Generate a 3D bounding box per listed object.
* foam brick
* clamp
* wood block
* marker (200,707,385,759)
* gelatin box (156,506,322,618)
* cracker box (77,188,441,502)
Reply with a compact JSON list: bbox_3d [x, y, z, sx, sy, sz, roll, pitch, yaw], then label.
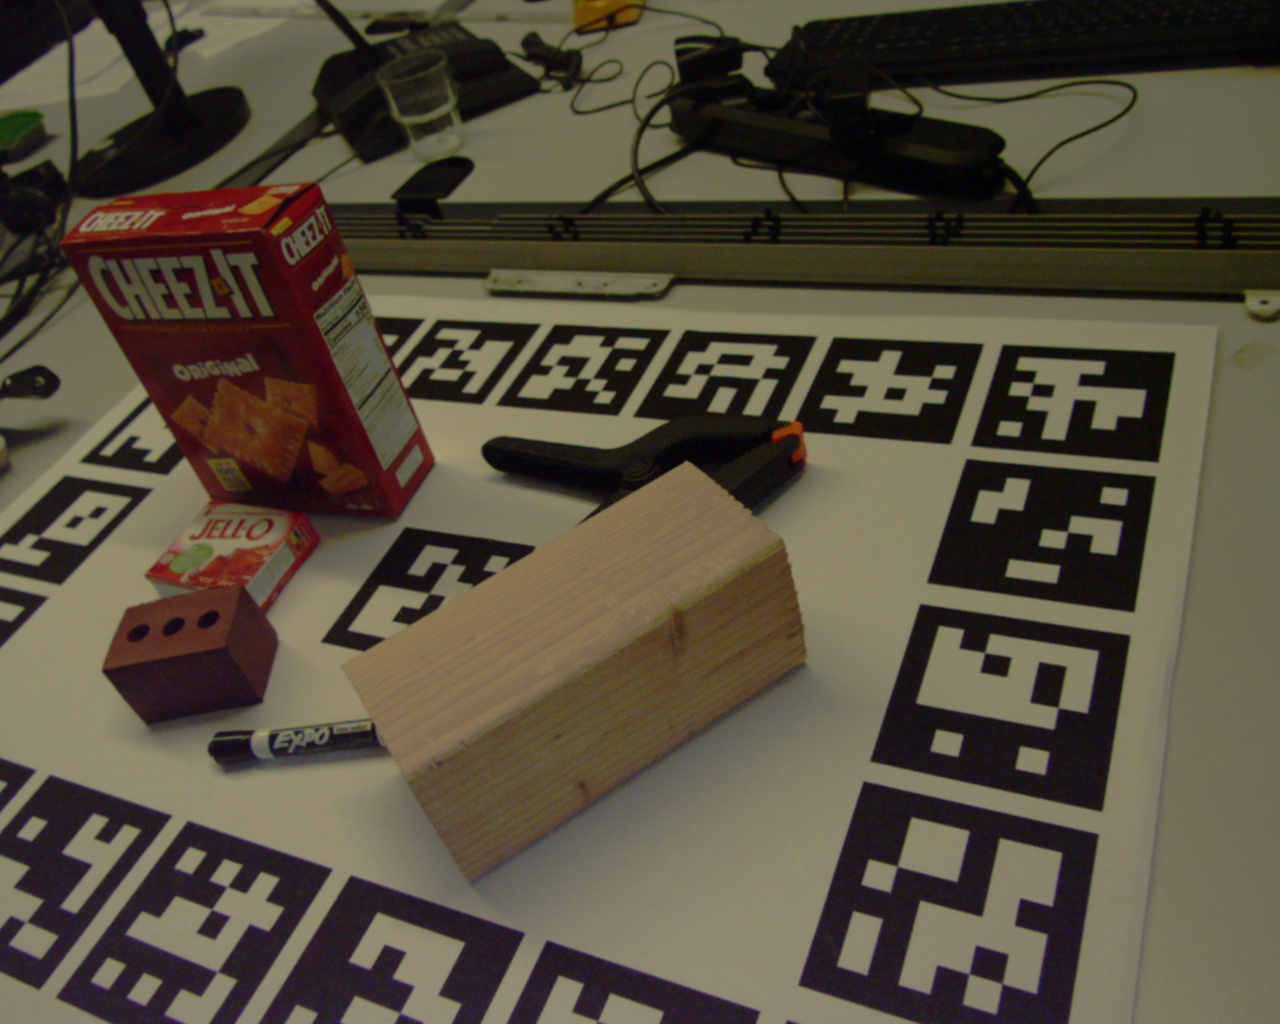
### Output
[{"bbox_3d":[-0.272,0.087,0.707,0.078,0.051,0.053,-12,44,9],"label":"foam brick"},{"bbox_3d":[-0.011,-0.019,0.726,0.203,0.036,0.166,-17,43,5],"label":"clamp"},{"bbox_3d":[-0.037,0.076,0.604,0.205,0.090,0.091,-31,41,-15],"label":"wood block"},{"bbox_3d":[-0.199,0.127,0.659,0.122,0.019,0.020,-9,45,13],"label":"marker"},{"bbox_3d":[-0.276,0.033,0.783,0.090,0.030,0.073,5,50,26],"label":"gelatin box"},{"bbox_3d":[-0.251,-0.105,0.771,0.166,0.212,0.072,5,46,22],"label":"cracker box"}]
